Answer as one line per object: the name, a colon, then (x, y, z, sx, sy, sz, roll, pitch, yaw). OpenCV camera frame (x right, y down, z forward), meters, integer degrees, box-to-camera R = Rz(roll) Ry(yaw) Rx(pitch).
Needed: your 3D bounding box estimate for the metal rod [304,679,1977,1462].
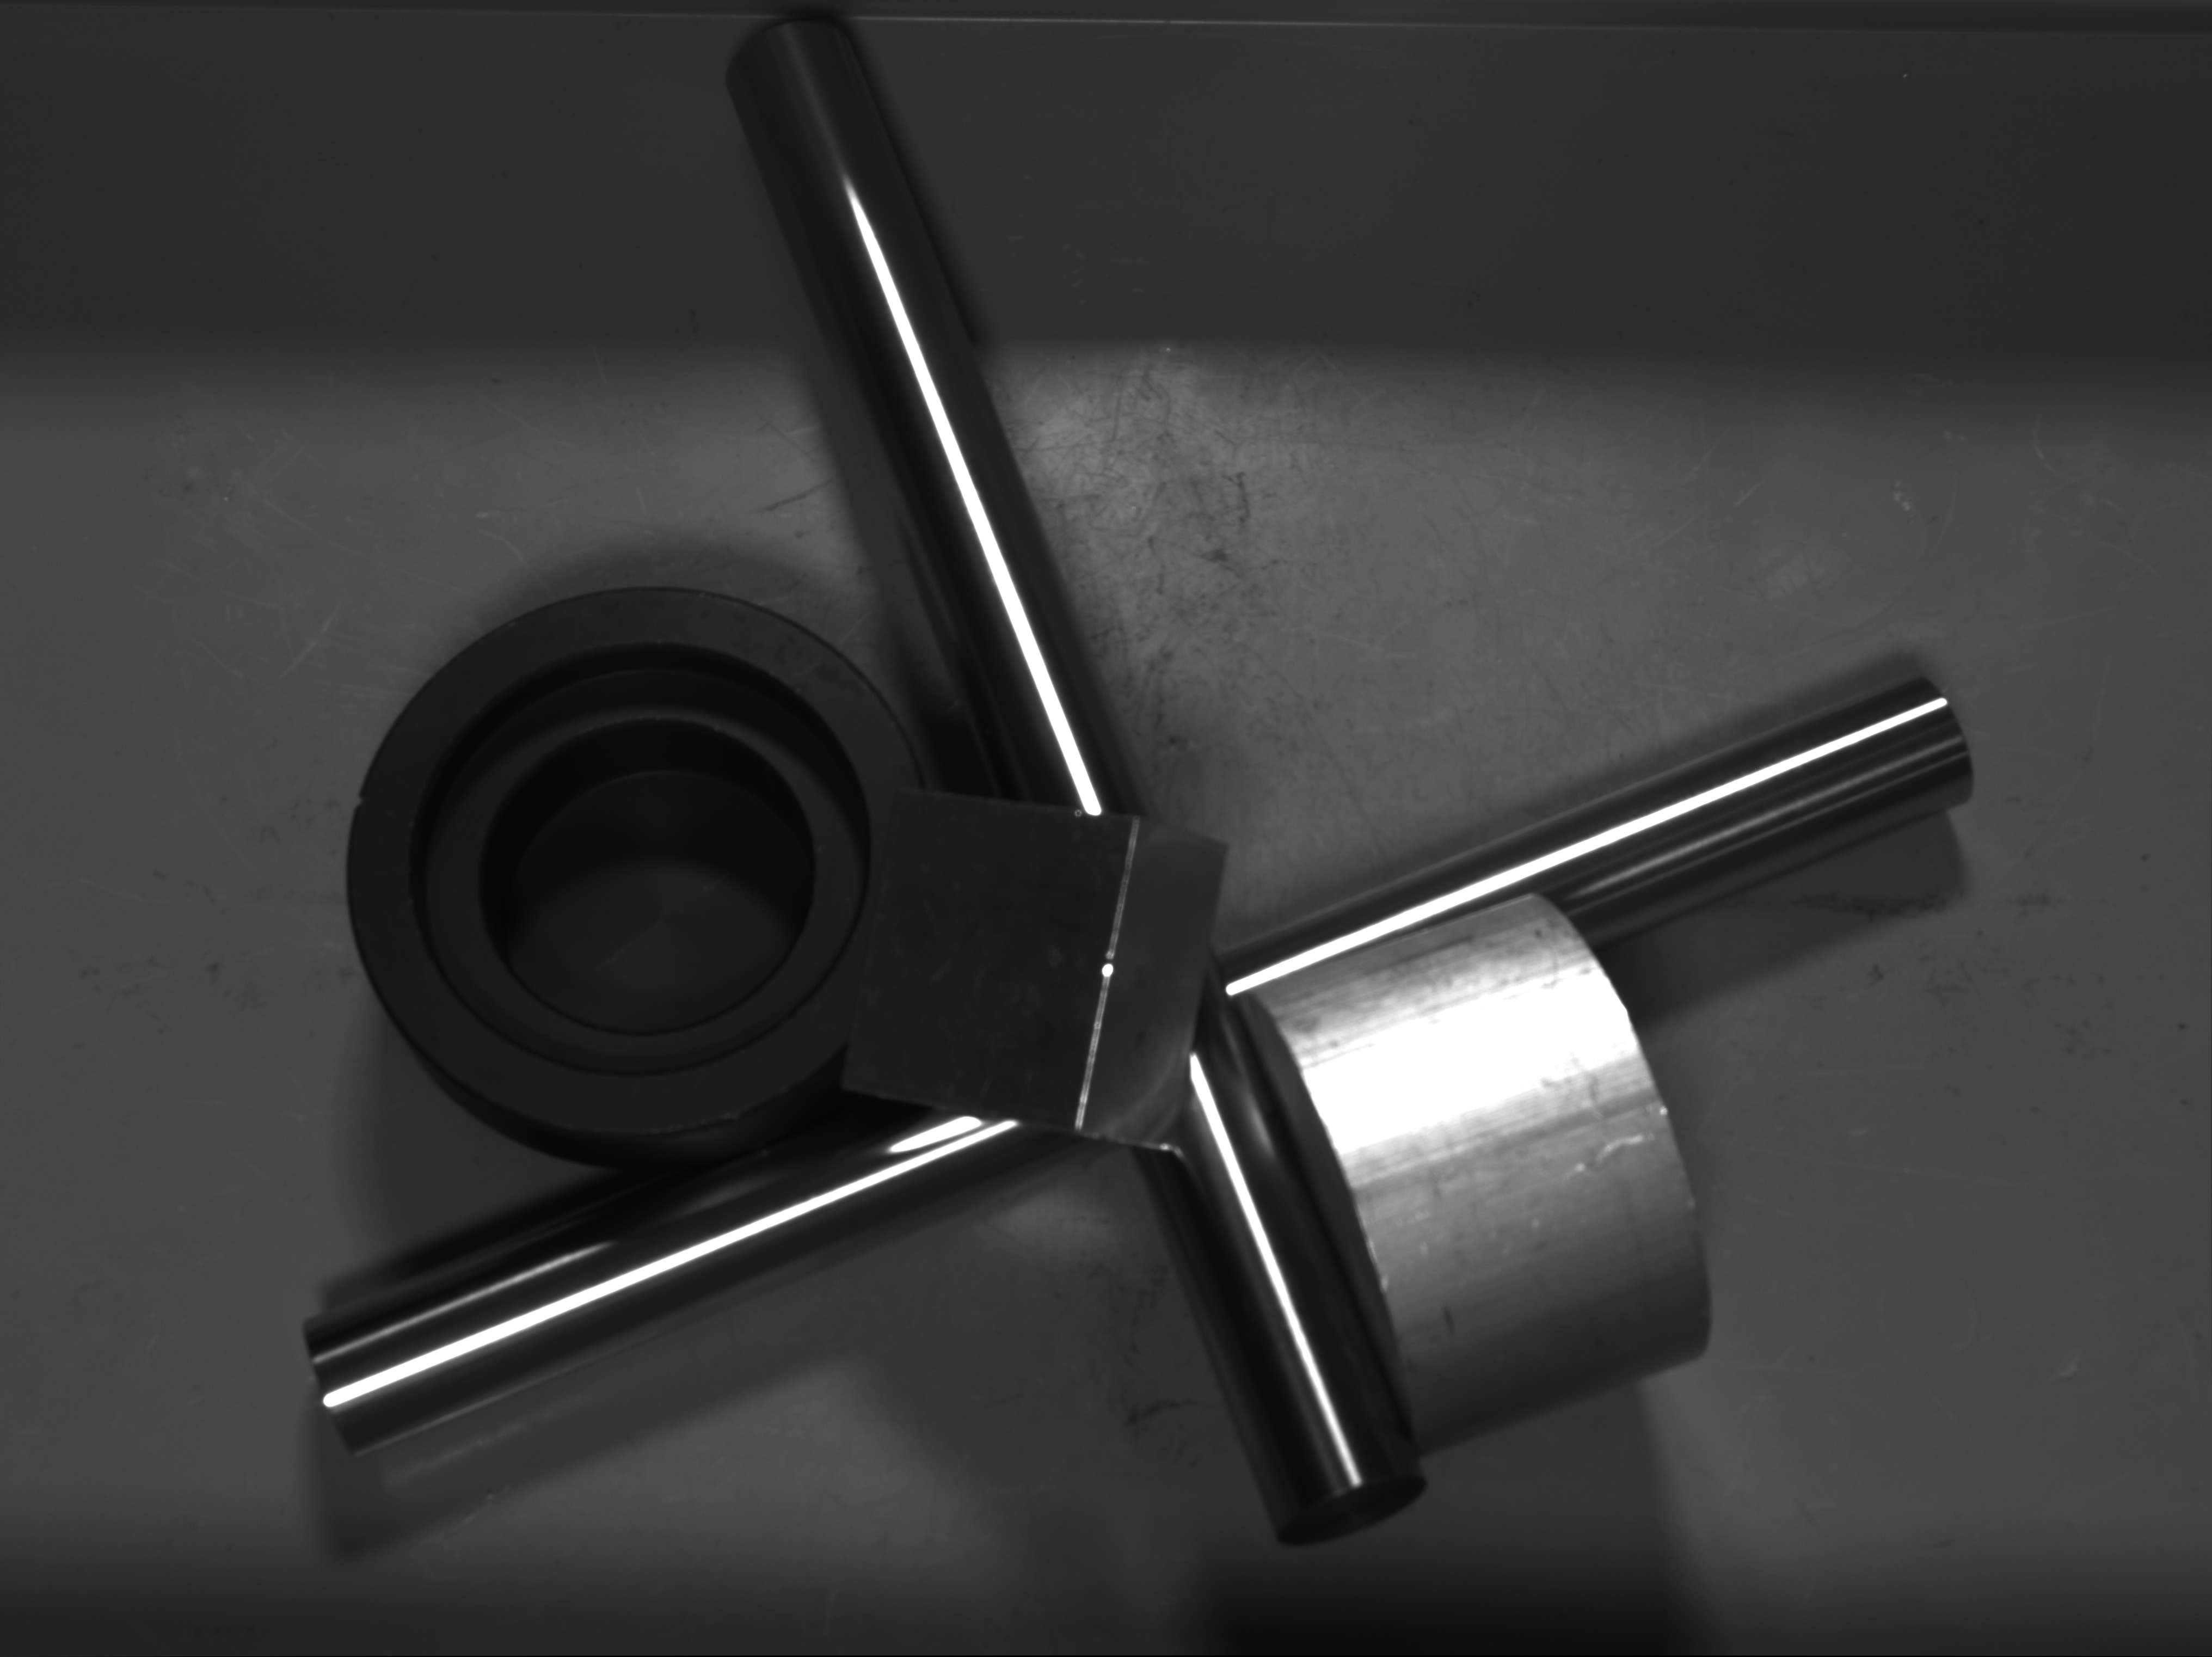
metal rod: (0.010, 0.040, 0.629, 0.300, 0.025, 0.025, -21, 71, -8)

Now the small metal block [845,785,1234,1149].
small metal block: (-0.011, 0.022, 0.592, 0.050, 0.025, 0.050, 7, 85, 38)

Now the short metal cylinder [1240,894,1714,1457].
short metal cylinder: (0.059, 0.056, 0.594, 0.050, 0.080, 0.080, -18, 71, -7)

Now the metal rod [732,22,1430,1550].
metal rod: (-0.010, -0.019, 0.632, 0.025, 0.025, 0.300, -18, 64, -6)

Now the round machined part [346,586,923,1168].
round machined part: (-0.078, 0.011, 0.631, 0.098, 0.042, 0.098, 0, 70, 0)
